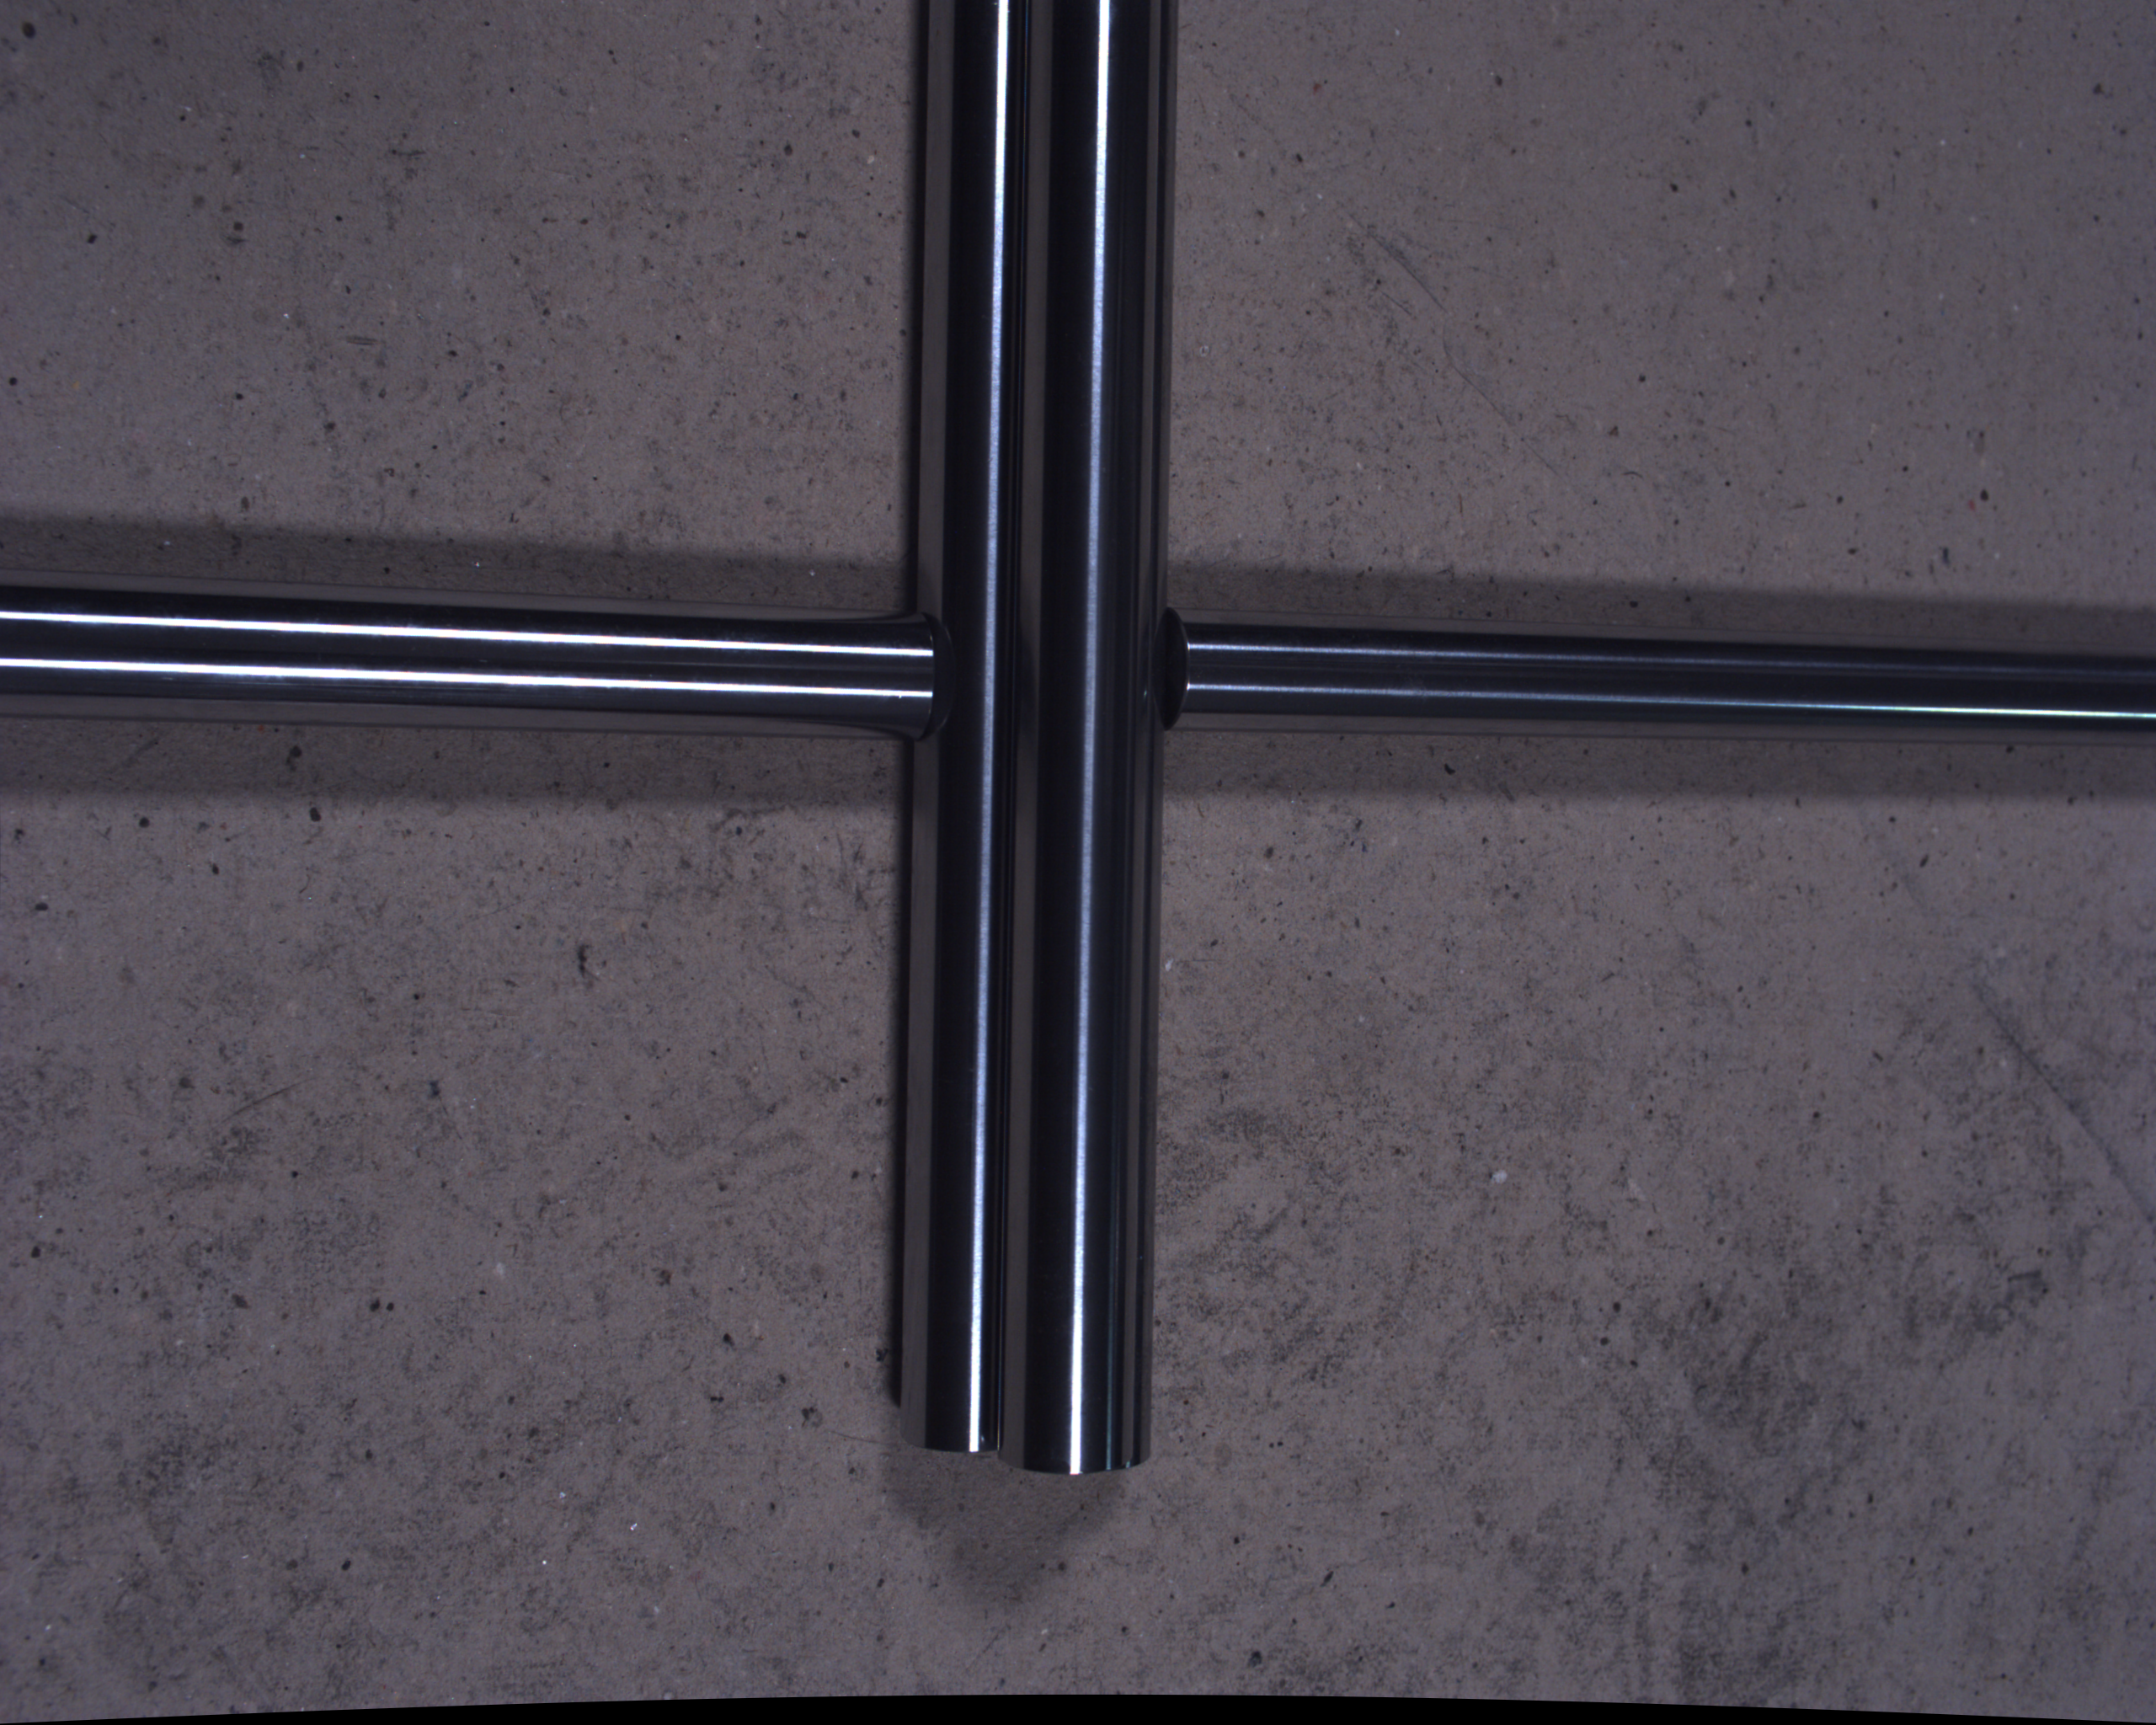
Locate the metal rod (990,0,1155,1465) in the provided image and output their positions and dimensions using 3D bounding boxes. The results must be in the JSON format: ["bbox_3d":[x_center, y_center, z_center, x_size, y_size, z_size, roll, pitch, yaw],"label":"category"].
[{"bbox_3d":[-0.001,-0.040,0.389,0.025,0.025,0.298,1,90,-20],"label":"metal rod"}]

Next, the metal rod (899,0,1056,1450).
[{"bbox_3d":[-0.019,-0.039,0.405,0.025,0.025,0.298,1,90,-20],"label":"metal rod"}]

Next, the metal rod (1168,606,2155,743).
[{"bbox_3d":[0.158,-0.040,0.470,0.303,0.025,0.025,-1,90,-21],"label":"metal rod"}]

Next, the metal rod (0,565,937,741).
[{"bbox_3d":[-0.172,-0.037,0.346,0.303,0.025,0.025,0,90,-21],"label":"metal rod"}]

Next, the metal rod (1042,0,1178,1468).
[{"bbox_3d":[0.004,-0.033,0.414,0.025,0.025,0.298,1,90,-20],"label":"metal rod"}]
